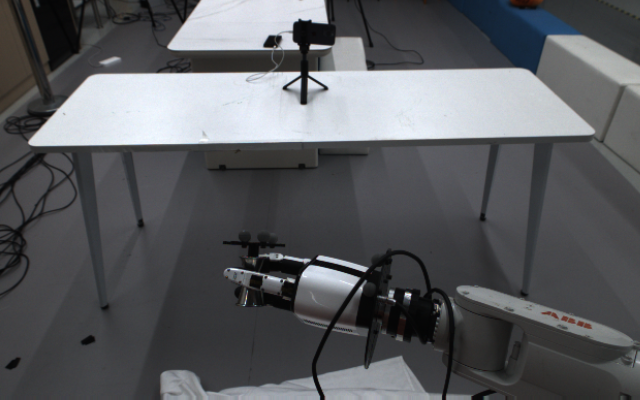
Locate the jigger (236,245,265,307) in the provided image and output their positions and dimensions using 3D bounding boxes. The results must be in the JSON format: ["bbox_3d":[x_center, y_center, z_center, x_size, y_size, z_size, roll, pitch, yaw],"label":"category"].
[{"bbox_3d":[-0.095,0.113,0.680,0.043,0.071,0.043,2,-6,0],"label":"jigger"}]
